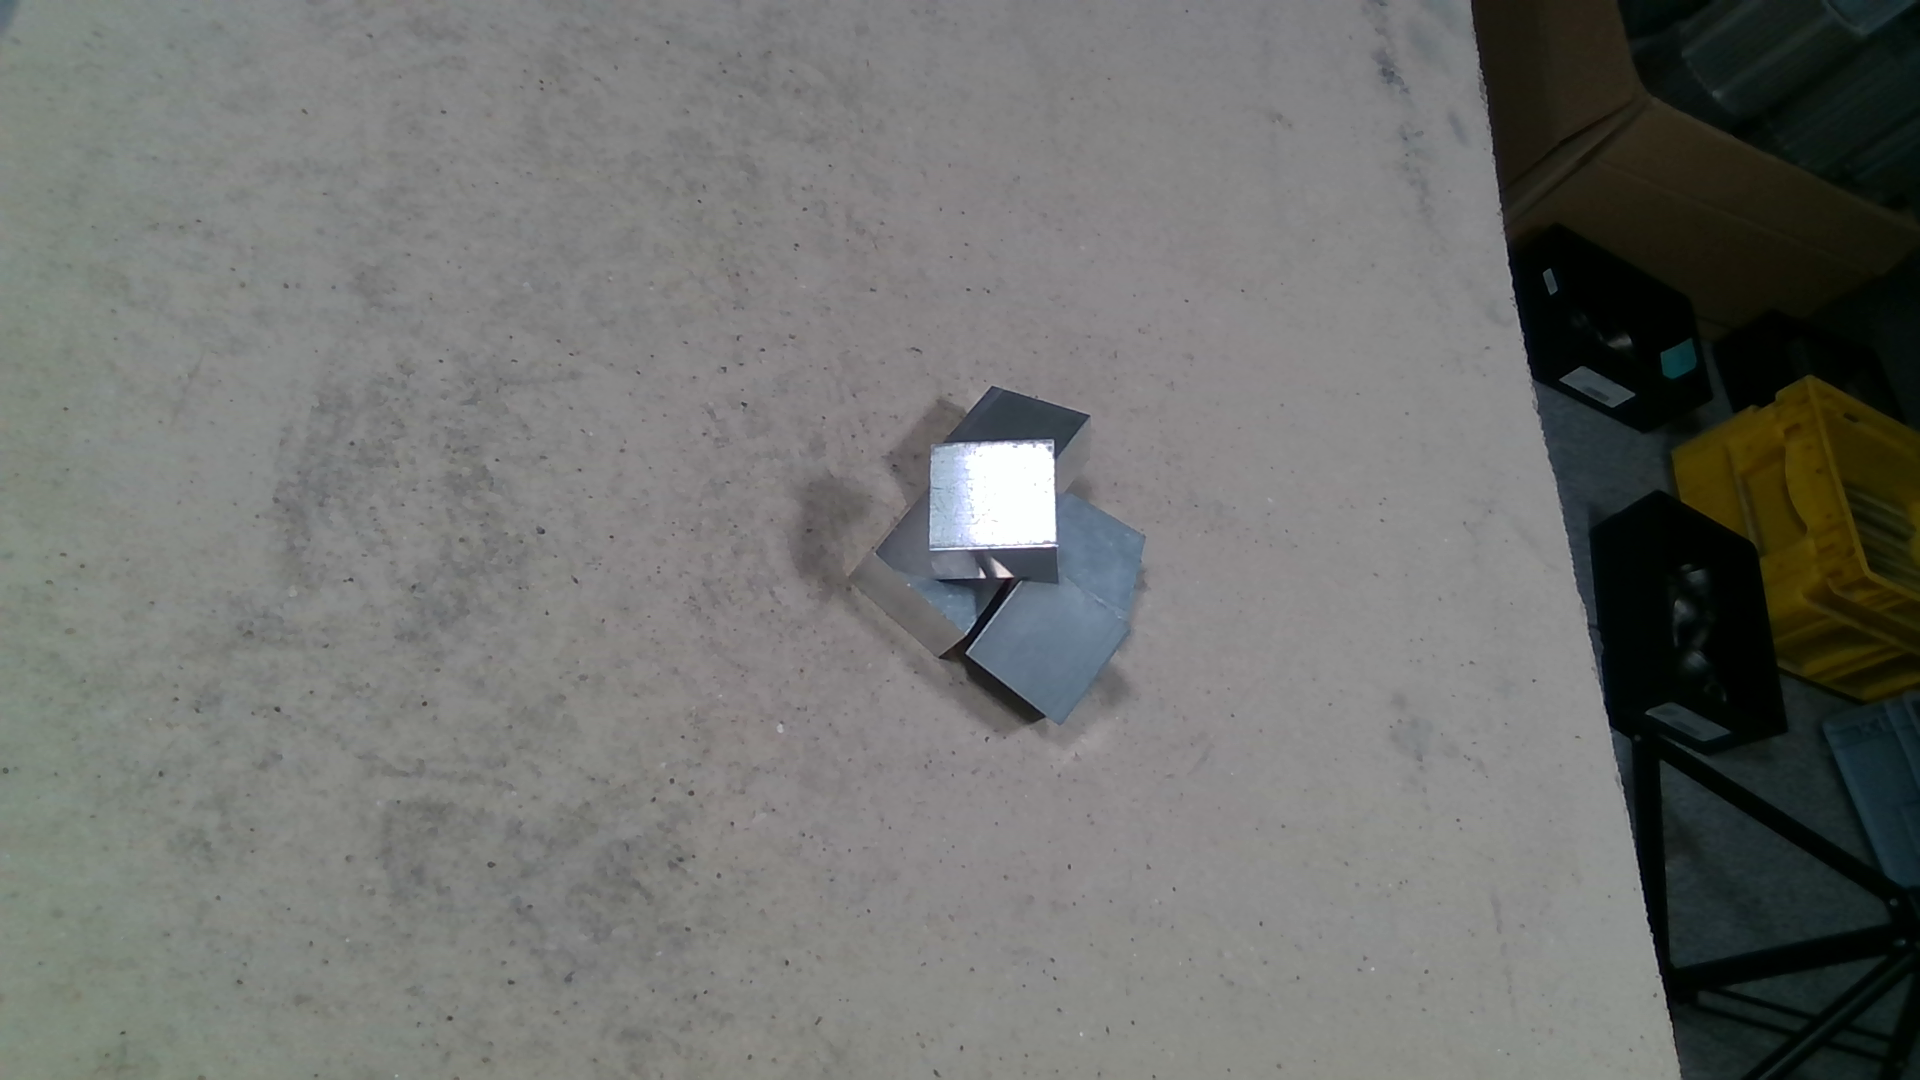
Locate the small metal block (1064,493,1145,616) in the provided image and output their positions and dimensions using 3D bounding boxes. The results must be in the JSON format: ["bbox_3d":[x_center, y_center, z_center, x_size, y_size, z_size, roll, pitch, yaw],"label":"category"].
[{"bbox_3d":[0.051,0.011,0.612,0.050,0.025,0.050,30,53,-15],"label":"small metal block"}]

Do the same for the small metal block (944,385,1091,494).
[{"bbox_3d":[0.024,-0.038,0.607,0.050,0.025,0.050,19,48,23],"label":"small metal block"}]

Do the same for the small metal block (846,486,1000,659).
[{"bbox_3d":[-0.010,0.012,0.574,0.050,0.025,0.050,42,51,-6],"label":"small metal block"}]

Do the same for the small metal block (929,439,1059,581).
[{"bbox_3d":[0.014,-0.012,0.554,0.050,0.025,0.050,-2,62,4],"label":"small metal block"}]

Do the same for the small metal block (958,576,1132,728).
[{"bbox_3d":[0.034,0.041,0.571,0.050,0.025,0.050,38,85,-9],"label":"small metal block"}]
